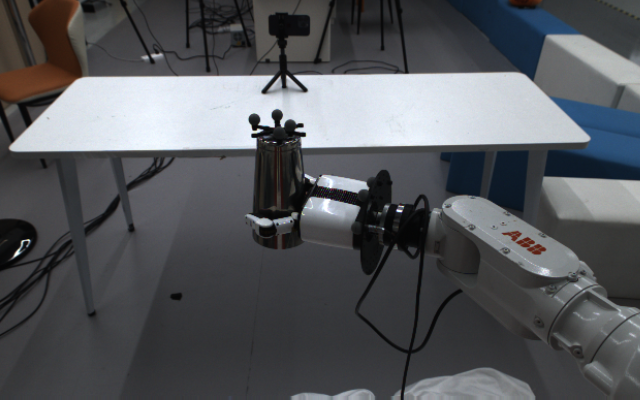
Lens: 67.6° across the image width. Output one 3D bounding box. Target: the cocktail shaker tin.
[{"bbox_3d":[-0.062,-0.020,0.751,0.093,0.170,0.093,1,28,-1],"label":"cocktail shaker tin"}]
